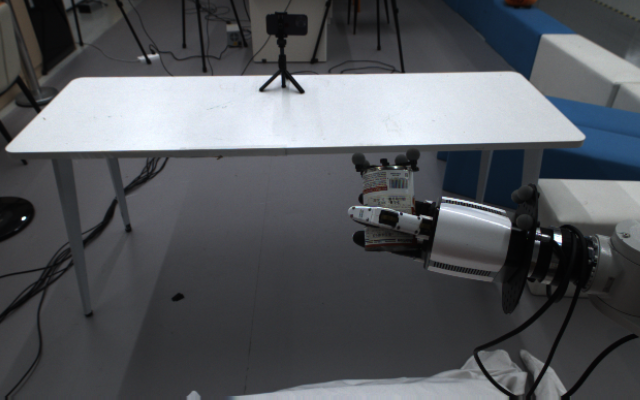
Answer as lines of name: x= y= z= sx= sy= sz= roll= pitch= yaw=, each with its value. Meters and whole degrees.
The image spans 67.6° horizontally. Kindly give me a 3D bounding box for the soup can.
soup can: x=0.090 y=0.013 z=0.616 sx=0.067 sy=0.101 sz=0.067 roll=-1 pitch=-9 yaw=0
